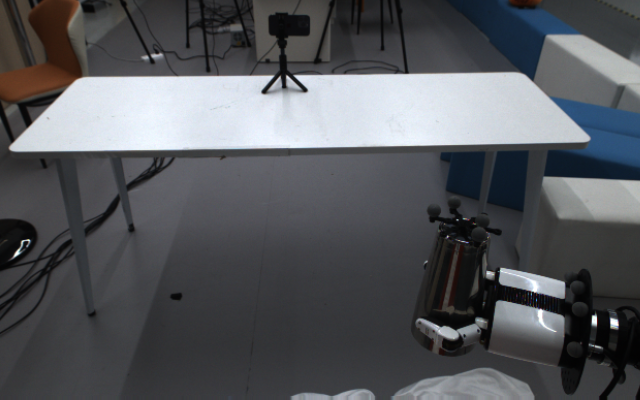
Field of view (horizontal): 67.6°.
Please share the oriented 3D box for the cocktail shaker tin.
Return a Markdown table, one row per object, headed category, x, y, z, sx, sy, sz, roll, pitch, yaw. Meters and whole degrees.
| category | x | y | z | sx | sy | sz | roll | pitch | yaw |
| --- | --- | --- | --- | --- | --- | --- | --- | --- | --- |
| cocktail shaker tin | 0.180 | 0.111 | 0.650 | 0.093 | 0.170 | 0.093 | 1 | 28 | -1 |
